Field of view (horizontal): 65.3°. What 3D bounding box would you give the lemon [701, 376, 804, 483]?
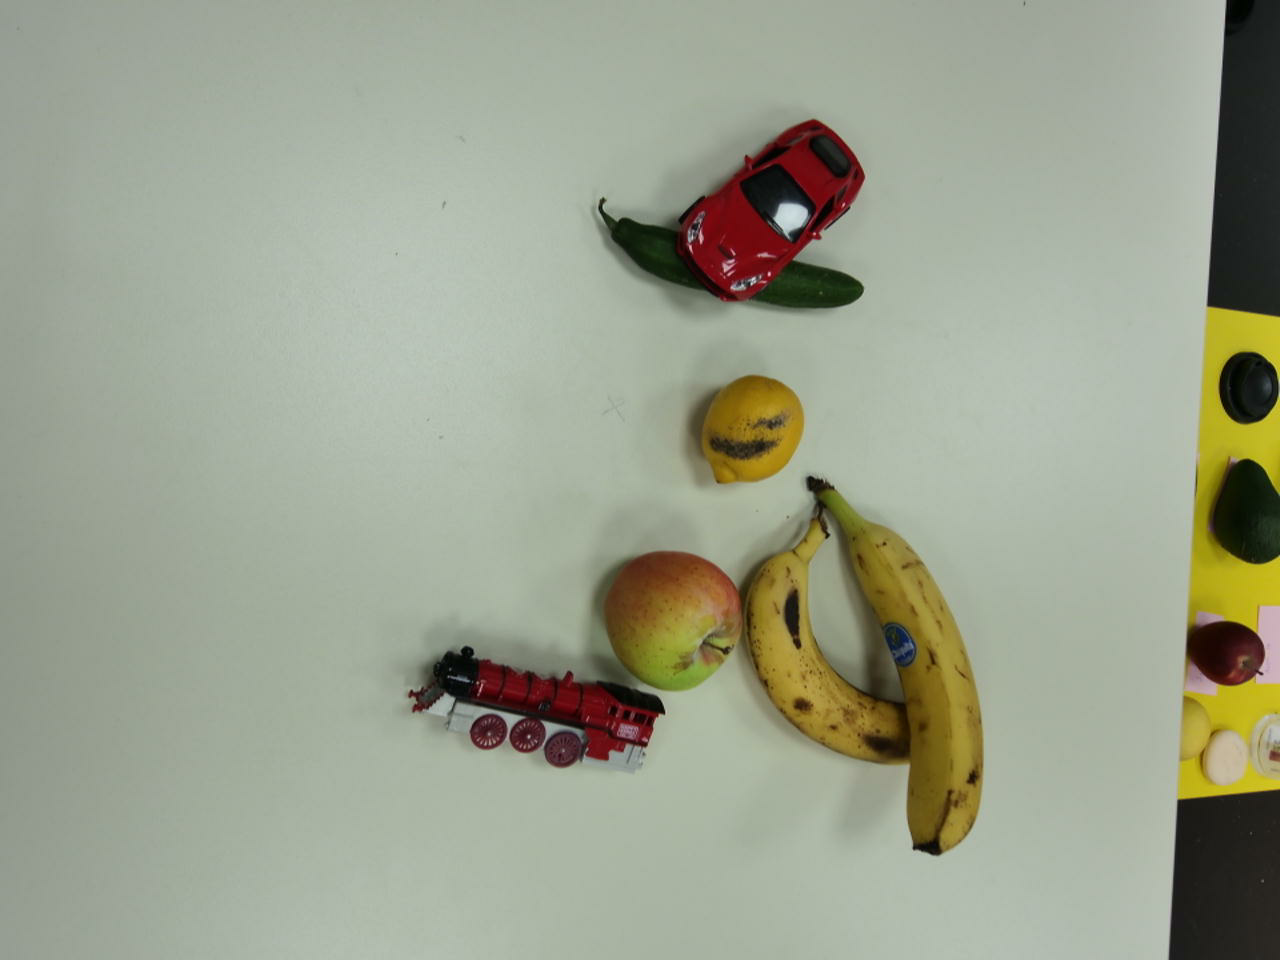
[{"bbox_3d":[0.064,-0.029,0.572,0.058,0.056,0.061,-3,91,-22],"label":"lemon"}]
